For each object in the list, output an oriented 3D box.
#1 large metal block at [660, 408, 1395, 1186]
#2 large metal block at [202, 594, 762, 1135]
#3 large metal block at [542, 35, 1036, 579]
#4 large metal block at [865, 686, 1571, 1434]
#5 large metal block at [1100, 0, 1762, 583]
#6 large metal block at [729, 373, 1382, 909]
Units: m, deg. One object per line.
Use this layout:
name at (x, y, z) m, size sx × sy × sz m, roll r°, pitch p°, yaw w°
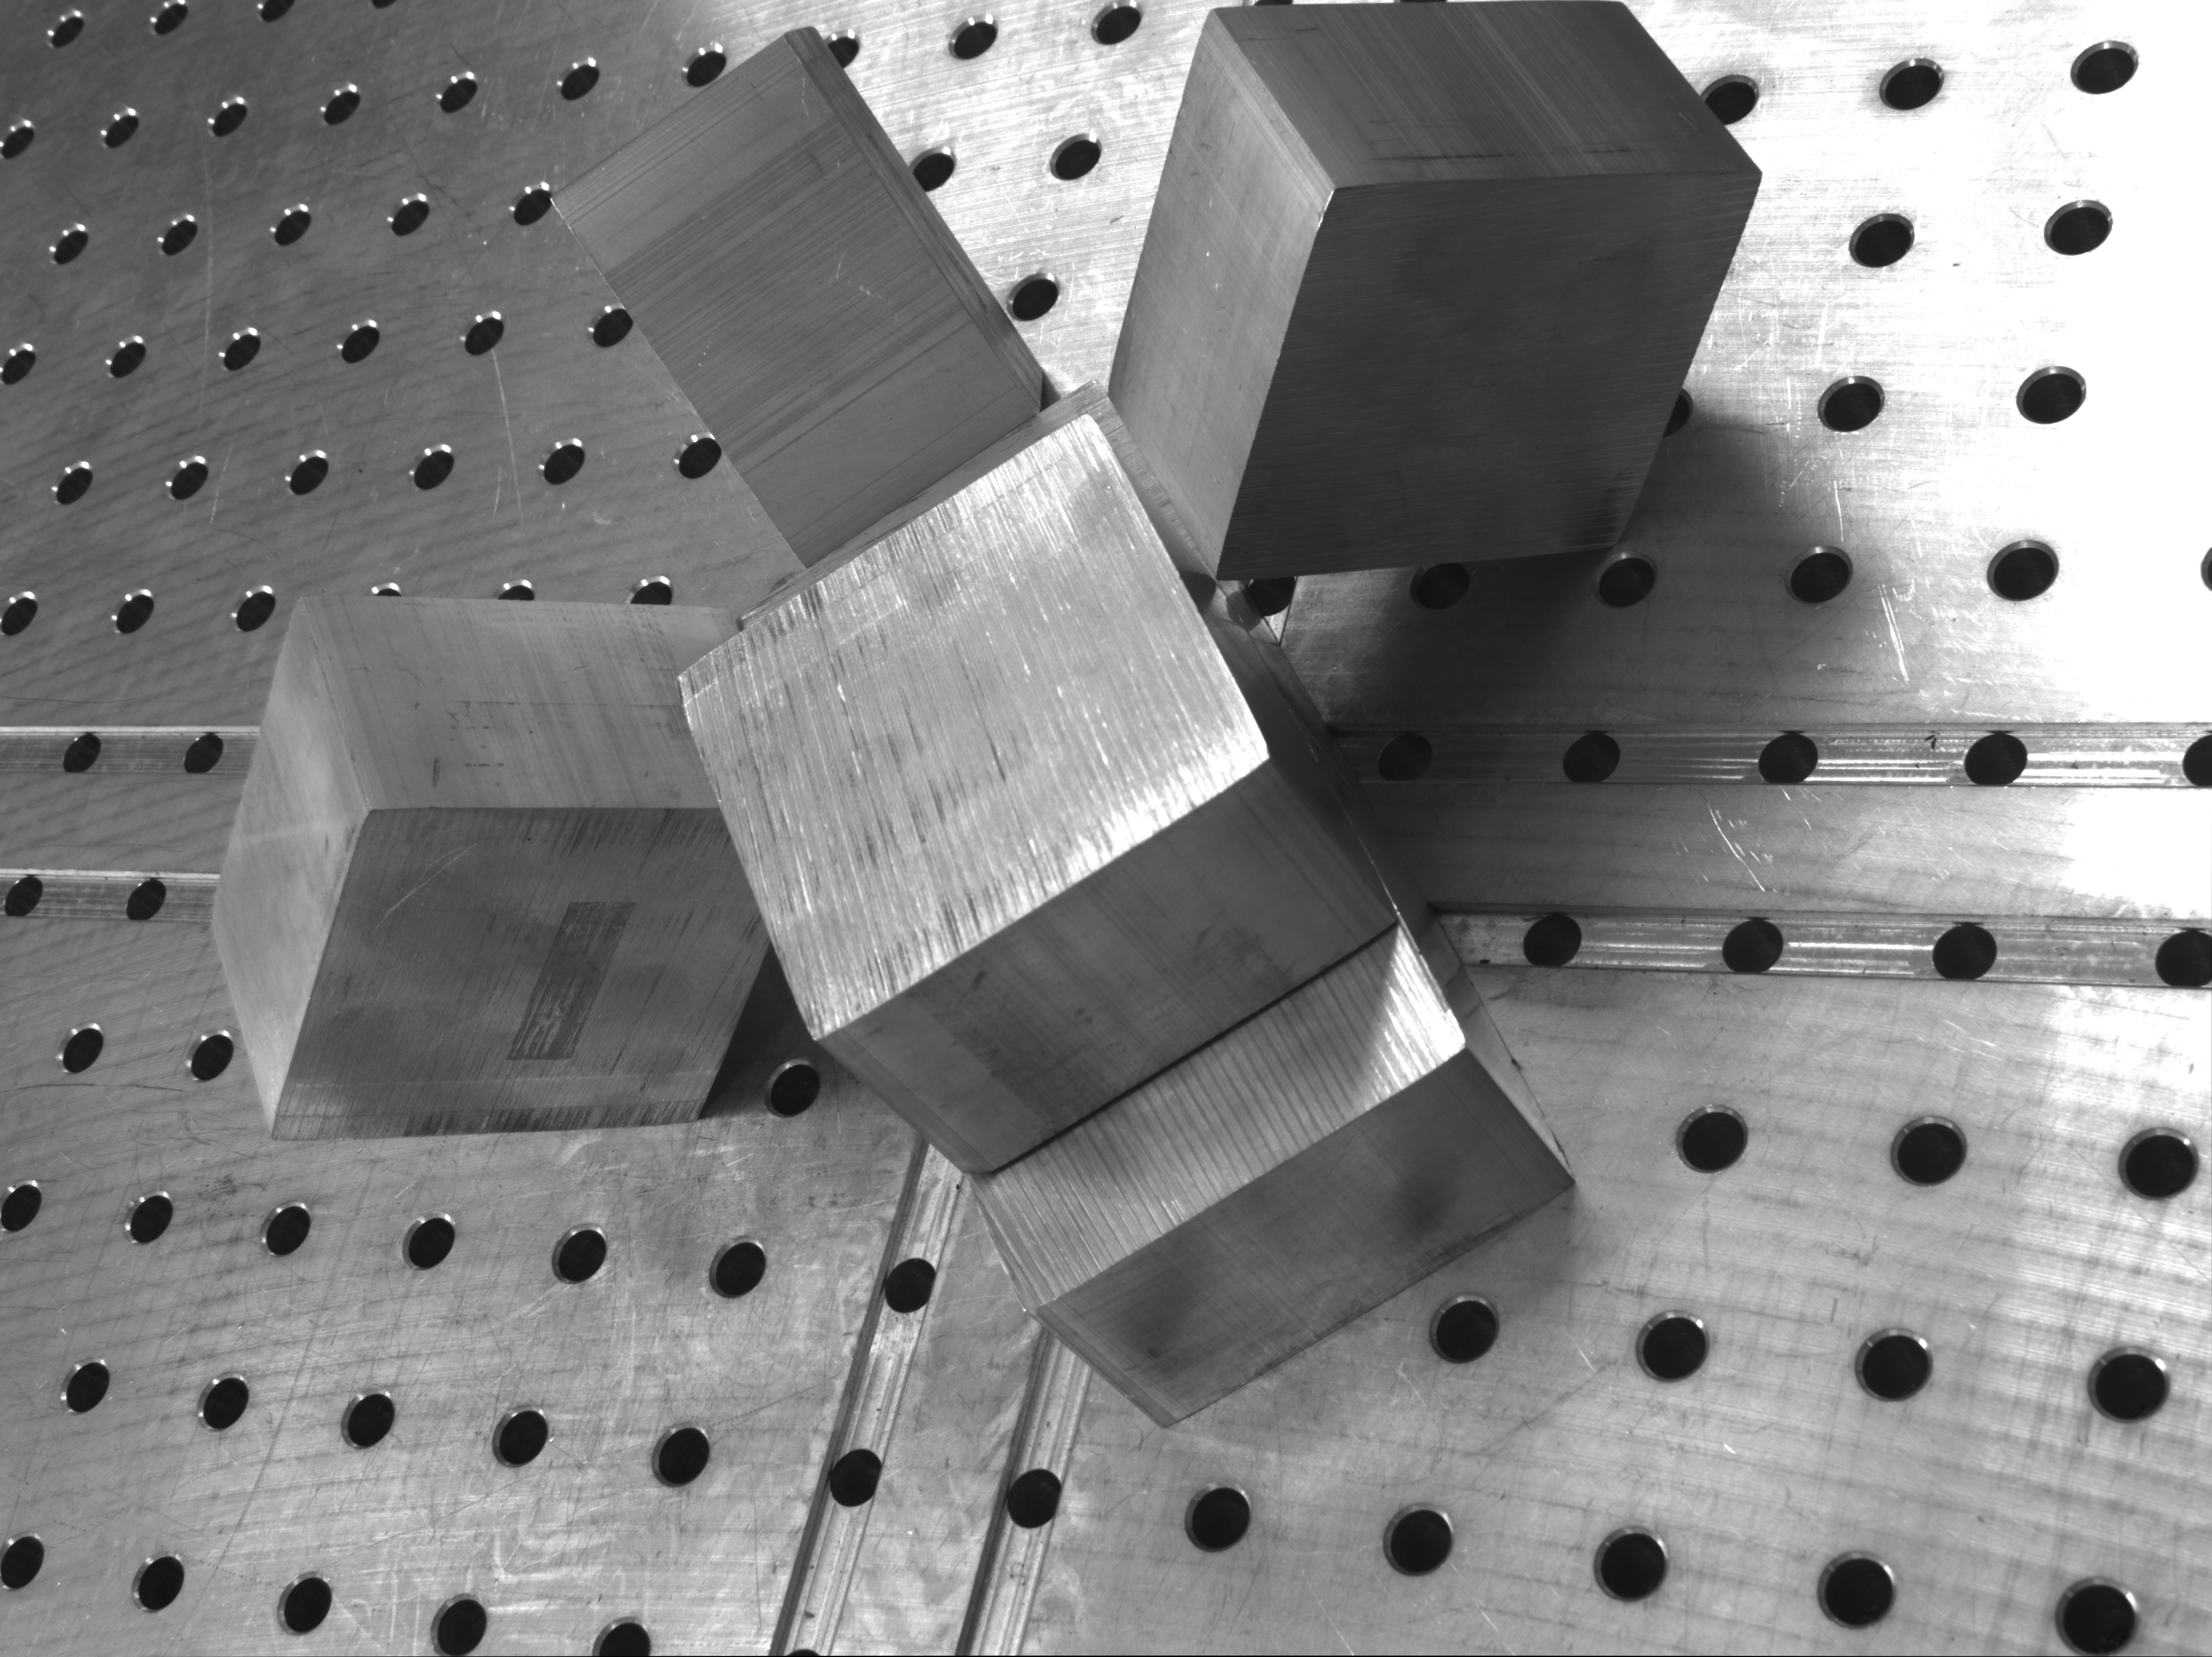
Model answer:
large metal block at (-0.013, -0.005, 0.577) m, size 0.080 × 0.050 × 0.080 m, roll -32°, pitch 52°, yaw 7°
large metal block at (-0.107, 0.007, 0.647) m, size 0.050 × 0.080 × 0.080 m, roll 62°, pitch 140°, yaw 39°
large metal block at (-0.056, -0.100, 0.685) m, size 0.050 × 0.080 × 0.080 m, roll -33°, pitch 12°, yaw 7°
large metal block at (0.017, 0.038, 0.599) m, size 0.080 × 0.050 × 0.080 m, roll -31°, pitch 50°, yaw 7°
large metal block at (0.053, -0.091, 0.621) m, size 0.080 × 0.080 × 0.050 m, roll -7°, pitch 47°, yaw -24°
large metal block at (-0.010, -0.019, 0.650) m, size 0.080 × 0.050 × 0.080 m, roll -33°, pitch 51°, yaw 7°
